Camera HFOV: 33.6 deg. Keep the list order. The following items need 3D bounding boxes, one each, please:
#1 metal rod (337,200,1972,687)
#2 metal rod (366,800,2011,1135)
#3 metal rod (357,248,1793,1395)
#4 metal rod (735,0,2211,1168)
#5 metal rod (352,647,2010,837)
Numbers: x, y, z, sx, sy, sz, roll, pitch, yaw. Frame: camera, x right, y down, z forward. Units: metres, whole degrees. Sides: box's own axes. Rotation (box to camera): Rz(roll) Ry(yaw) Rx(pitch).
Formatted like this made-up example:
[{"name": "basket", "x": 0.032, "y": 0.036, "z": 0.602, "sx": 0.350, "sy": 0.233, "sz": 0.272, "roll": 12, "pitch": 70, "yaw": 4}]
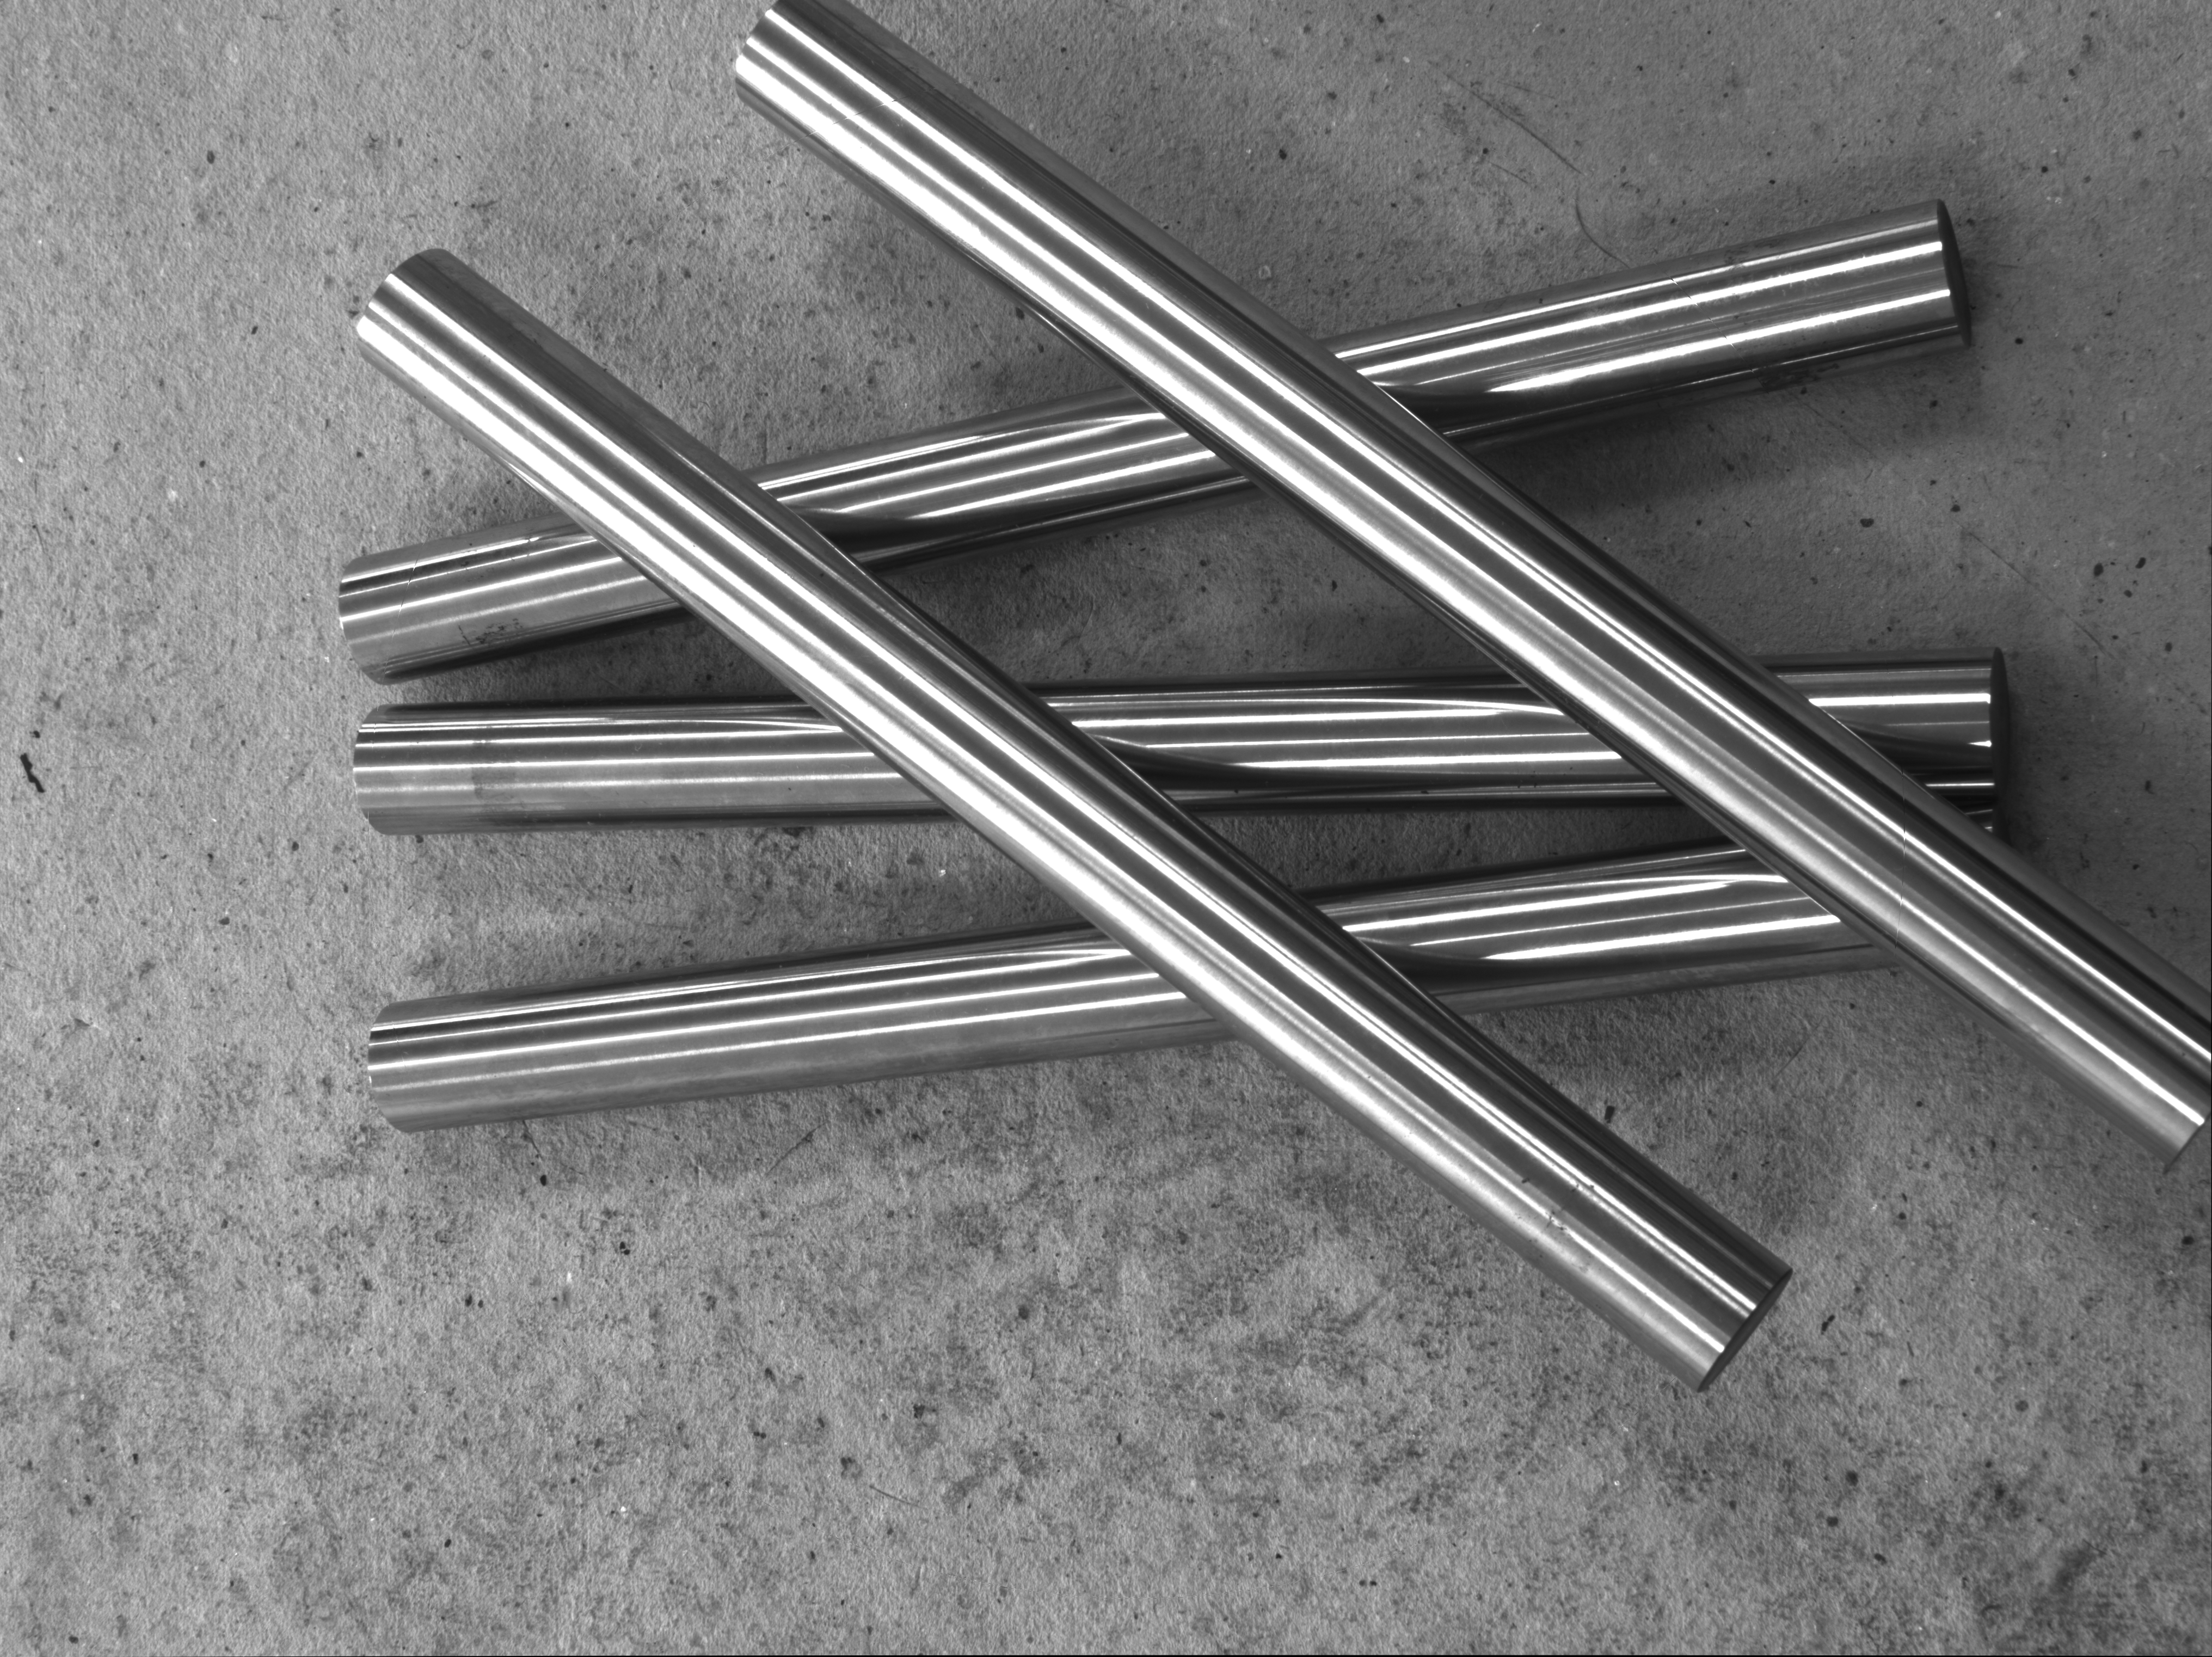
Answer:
[{"name": "metal rod", "x": 0.000, "y": -0.064, "z": 0.647, "sx": 0.299, "sy": 0.025, "sz": 0.025, "roll": -10, "pitch": 86, "yaw": 20}, {"name": "metal rod", "x": 0.006, "y": 0.027, "z": 0.644, "sx": 0.299, "sy": 0.025, "sz": 0.025, "roll": -8, "pitch": 87, "yaw": 20}, {"name": "metal rod", "x": -0.013, "y": -0.007, "z": 0.624, "sx": 0.299, "sy": 0.025, "sz": 0.025, "roll": 37, "pitch": 102, "yaw": 16}, {"name": "metal rod", "x": 0.057, "y": -0.047, "z": 0.599, "sx": 0.299, "sy": 0.025, "sz": 0.025, "roll": 38, "pitch": 102, "yaw": 16}, {"name": "metal rod", "x": 0.004, "y": -0.014, "z": 0.645, "sx": 0.299, "sy": 0.025, "sz": 0.025, "roll": -1, "pitch": 89, "yaw": 20}]
